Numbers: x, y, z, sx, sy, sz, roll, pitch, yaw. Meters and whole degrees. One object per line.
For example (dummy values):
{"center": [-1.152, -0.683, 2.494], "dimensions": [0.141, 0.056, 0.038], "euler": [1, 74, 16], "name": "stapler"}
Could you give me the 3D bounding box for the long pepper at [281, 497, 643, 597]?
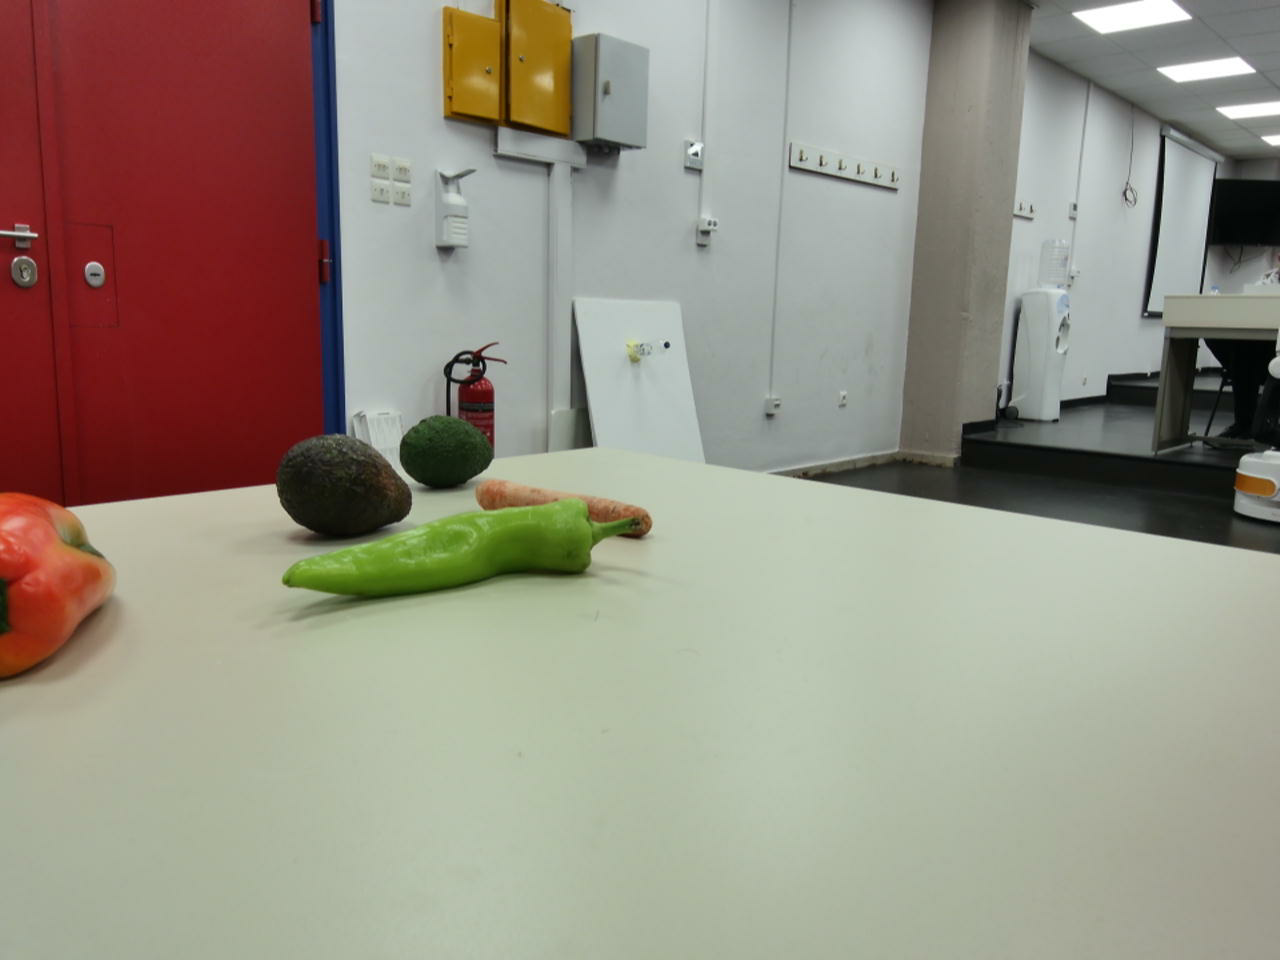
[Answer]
{"center": [-0.102, 0.039, 0.572], "dimensions": [0.204, 0.045, 0.065], "euler": [-5, 9, -31], "name": "long pepper"}
